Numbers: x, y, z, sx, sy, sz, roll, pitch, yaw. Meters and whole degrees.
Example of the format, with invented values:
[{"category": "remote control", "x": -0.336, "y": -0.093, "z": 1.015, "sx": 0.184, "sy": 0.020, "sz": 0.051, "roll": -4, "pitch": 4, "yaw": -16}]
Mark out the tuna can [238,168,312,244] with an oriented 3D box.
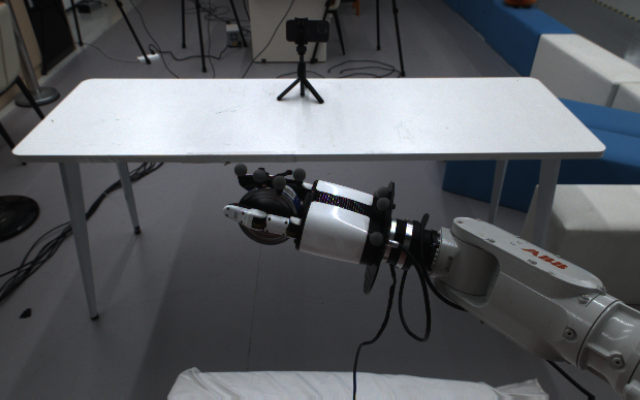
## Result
[{"category": "tuna can", "x": -0.068, "y": 0.017, "z": 0.666, "sx": 0.085, "sy": 0.085, "sz": 0.034, "roll": 6, "pitch": 22, "yaw": 6}]
